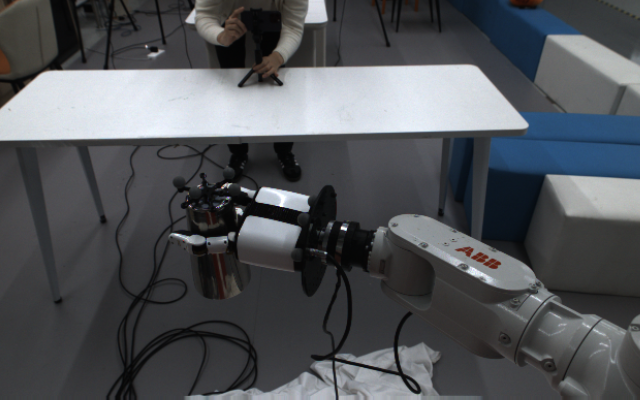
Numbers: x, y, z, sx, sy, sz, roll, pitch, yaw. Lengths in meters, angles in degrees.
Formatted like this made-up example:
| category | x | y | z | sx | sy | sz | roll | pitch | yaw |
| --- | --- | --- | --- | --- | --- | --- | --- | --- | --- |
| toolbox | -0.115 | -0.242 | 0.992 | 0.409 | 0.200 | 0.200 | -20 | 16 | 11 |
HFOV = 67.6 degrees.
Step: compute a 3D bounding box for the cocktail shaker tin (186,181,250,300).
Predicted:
| category | x | y | z | sx | sy | sz | roll | pitch | yaw |
| --- | --- | --- | --- | --- | --- | --- | --- | --- | --- |
| cocktail shaker tin | -0.154 | 0.057 | 0.735 | 0.093 | 0.170 | 0.093 | 0 | 40 | 0 |
